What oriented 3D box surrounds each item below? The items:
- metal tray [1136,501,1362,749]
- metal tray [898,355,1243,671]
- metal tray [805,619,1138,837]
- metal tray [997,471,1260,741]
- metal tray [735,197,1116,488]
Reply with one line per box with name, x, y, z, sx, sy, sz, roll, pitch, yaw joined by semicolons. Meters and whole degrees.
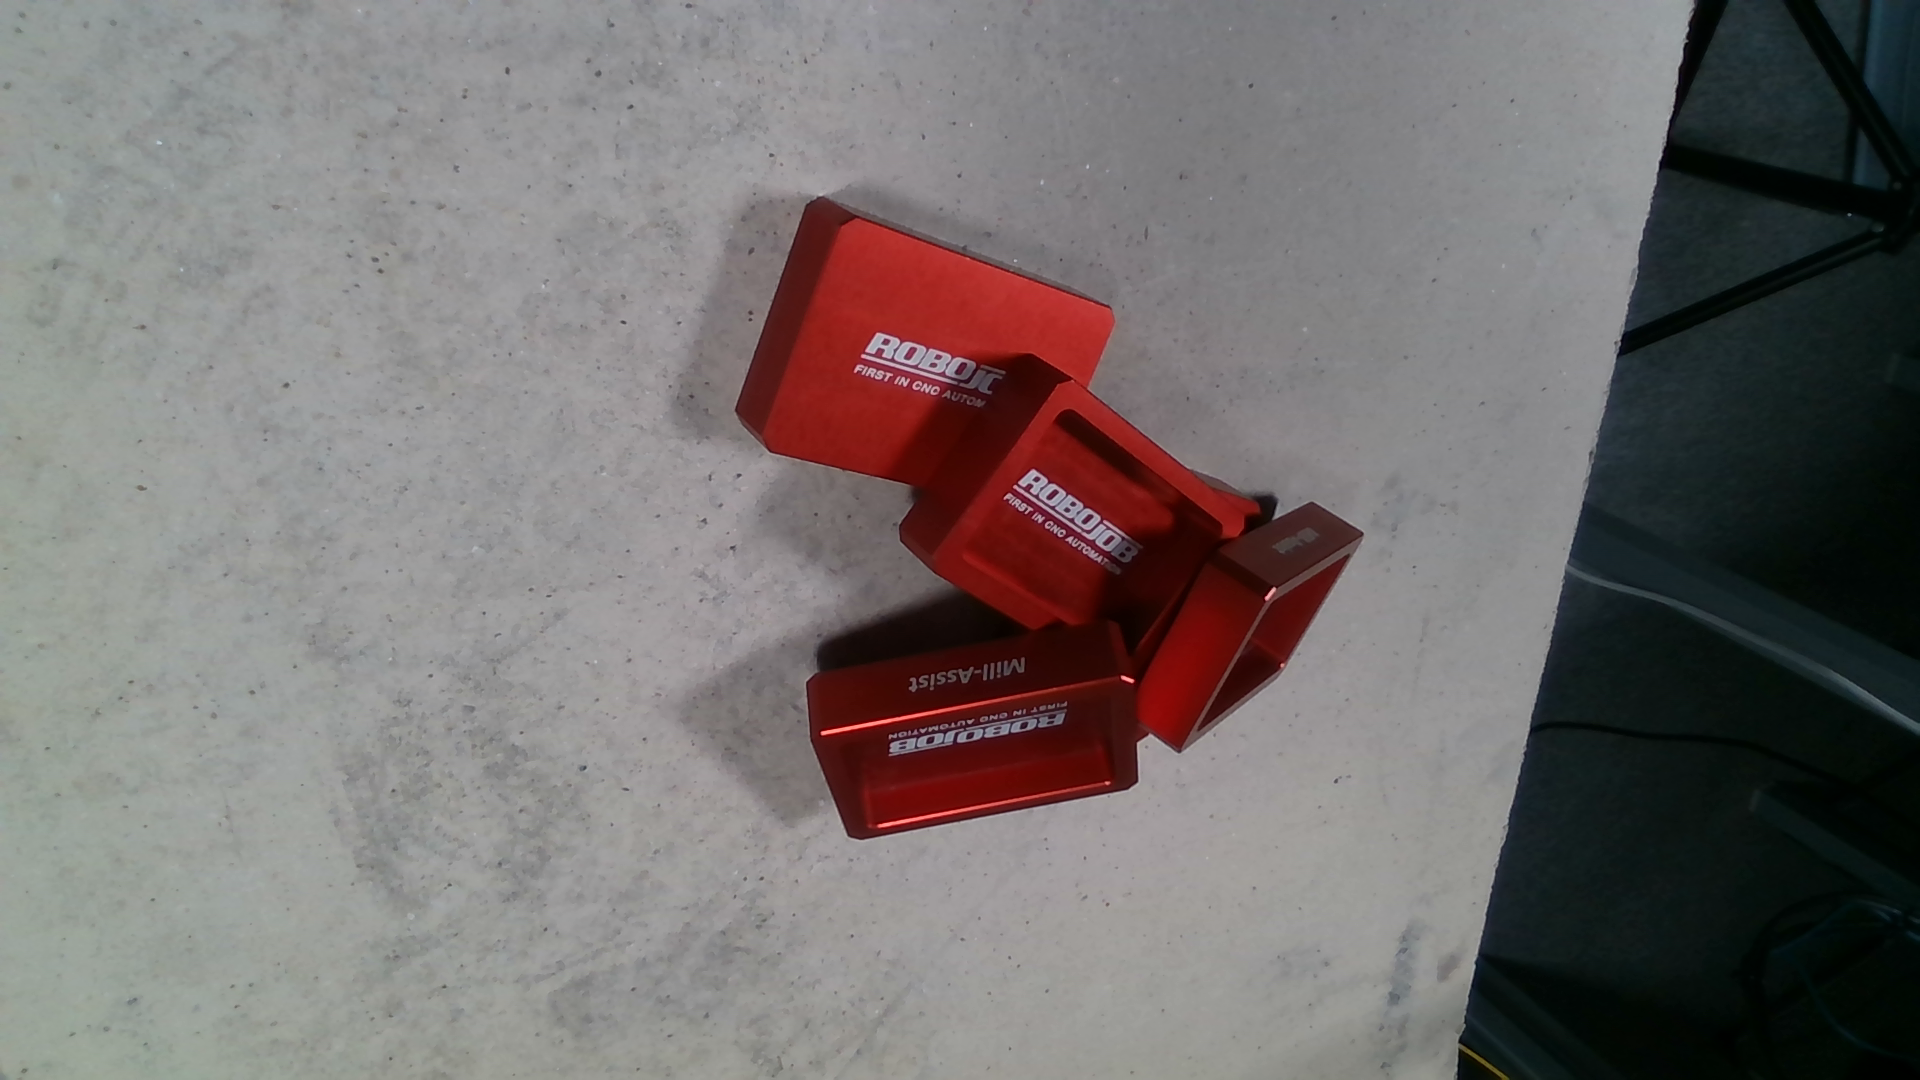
metal tray;0.132;0.036;0.634;0.130;0.030;0.090;-19;139;-55
metal tray;0.048;-0.006;0.566;0.130;0.030;0.090;32;96;-39
metal tray;0.007;0.082;0.582;0.130;0.030;0.090;-11;140;0
metal tray;0.073;0.026;0.636;0.090;0.030;0.130;14;107;-36
metal tray;-0.011;-0.068;0.533;0.130;0.030;0.090;11;108;-35
